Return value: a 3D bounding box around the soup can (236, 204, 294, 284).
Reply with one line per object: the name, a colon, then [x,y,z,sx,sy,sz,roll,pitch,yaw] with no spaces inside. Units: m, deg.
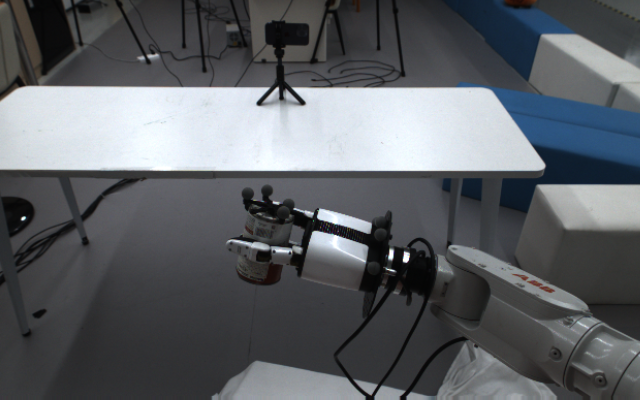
soup can: [-0.078,0.064,0.696,0.067,0.101,0.067,13,18,-4]
